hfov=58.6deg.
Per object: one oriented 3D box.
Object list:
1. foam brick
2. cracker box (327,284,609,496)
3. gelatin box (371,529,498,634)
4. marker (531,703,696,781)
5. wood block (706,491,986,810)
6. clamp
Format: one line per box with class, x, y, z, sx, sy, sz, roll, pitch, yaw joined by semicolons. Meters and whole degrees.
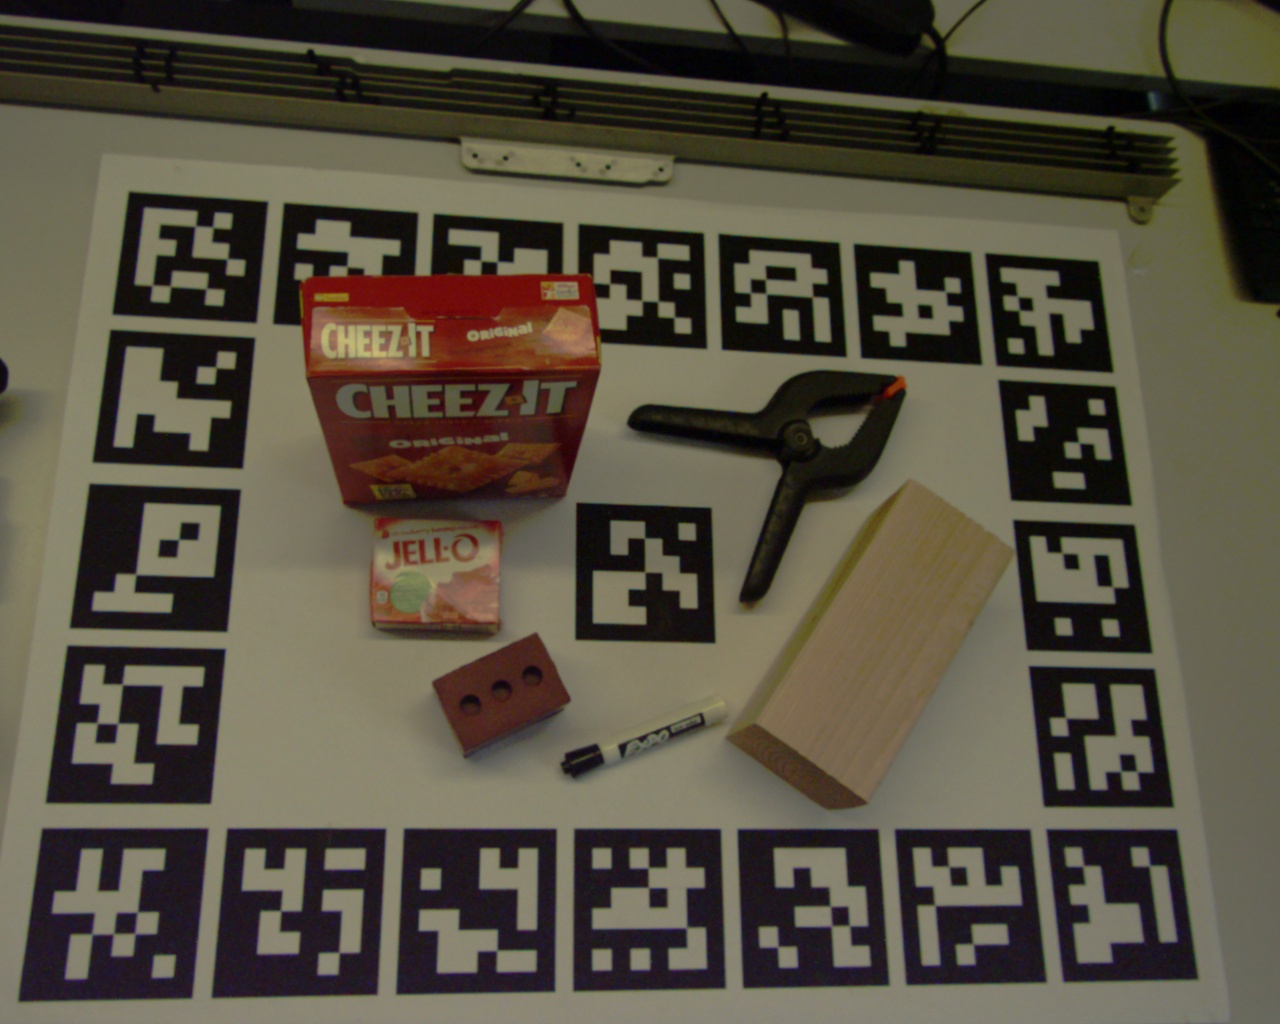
foam brick;-0.105;0.127;0.793;0.077;0.051;0.053;-22;82;-13
cracker box;-0.117;-0.071;0.754;0.163;0.214;0.072;-1;75;-11
gelatin box;-0.147;0.050;0.821;0.089;0.030;0.073;1;77;-8
marker;-0.019;0.164;0.810;0.120;0.020;0.020;-18;81;-12
wood block;0.146;0.099;0.819;0.090;0.091;0.205;35;71;4
clamp;0.104;-0.042;0.874;0.202;0.037;0.166;-29;82;-14
